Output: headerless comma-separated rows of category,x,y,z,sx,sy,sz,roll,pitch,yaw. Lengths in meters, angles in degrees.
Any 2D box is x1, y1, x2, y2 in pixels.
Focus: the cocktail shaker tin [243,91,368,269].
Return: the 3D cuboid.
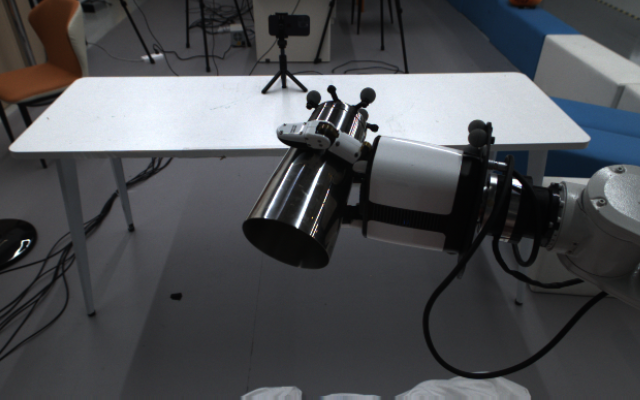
cocktail shaker tin,-0.005,-0.024,0.514,0.093,0.093,0.170,13,58,16
